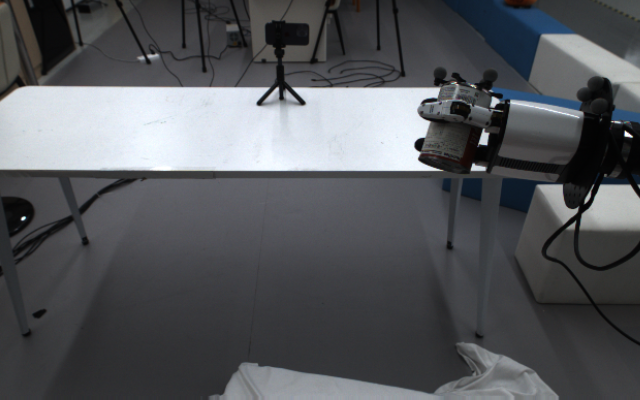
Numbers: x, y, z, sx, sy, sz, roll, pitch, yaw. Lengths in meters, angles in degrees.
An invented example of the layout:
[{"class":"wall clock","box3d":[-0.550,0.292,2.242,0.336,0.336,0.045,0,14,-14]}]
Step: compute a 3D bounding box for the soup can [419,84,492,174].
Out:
[{"class":"soup can","box3d":[0.174,-0.093,0.624,0.067,0.101,0.067,18,-2,1]}]
